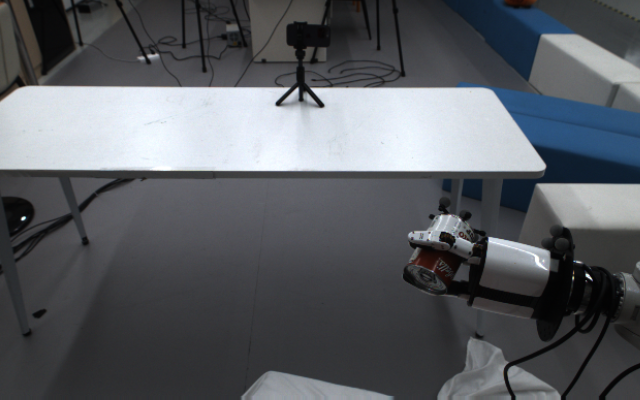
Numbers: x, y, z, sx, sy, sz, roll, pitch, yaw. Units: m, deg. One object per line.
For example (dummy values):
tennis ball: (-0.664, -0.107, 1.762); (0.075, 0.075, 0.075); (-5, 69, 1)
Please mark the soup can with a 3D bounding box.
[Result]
soup can: (0.178, 0.076, 0.705); (0.067, 0.067, 0.101); (22, 60, 26)
